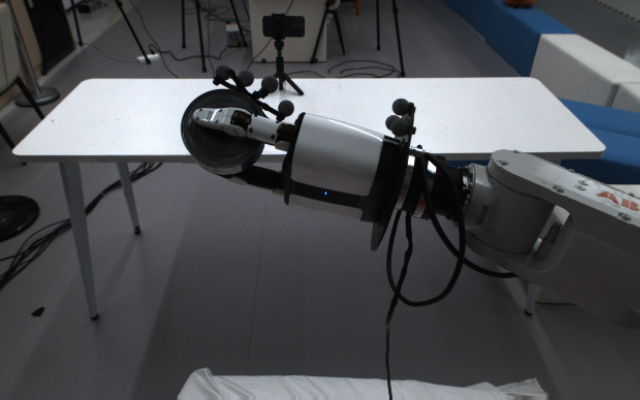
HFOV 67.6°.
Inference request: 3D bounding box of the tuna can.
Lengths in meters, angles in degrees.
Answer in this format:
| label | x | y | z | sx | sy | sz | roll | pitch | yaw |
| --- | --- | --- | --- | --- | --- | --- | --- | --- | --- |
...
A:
| label | x | y | z | sx | sy | sz | roll | pitch | yaw |
| --- | --- | --- | --- | --- | --- | --- | --- | --- | --- |
| tuna can | -0.099 | -0.071 | 0.513 | 0.085 | 0.034 | 0.085 | 1 | 75 | -4 |
